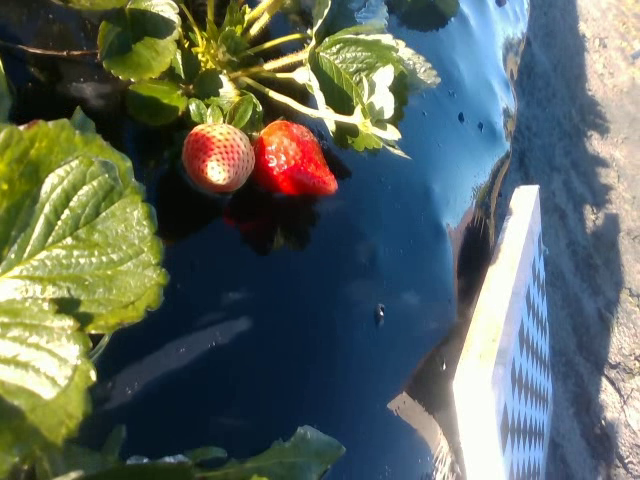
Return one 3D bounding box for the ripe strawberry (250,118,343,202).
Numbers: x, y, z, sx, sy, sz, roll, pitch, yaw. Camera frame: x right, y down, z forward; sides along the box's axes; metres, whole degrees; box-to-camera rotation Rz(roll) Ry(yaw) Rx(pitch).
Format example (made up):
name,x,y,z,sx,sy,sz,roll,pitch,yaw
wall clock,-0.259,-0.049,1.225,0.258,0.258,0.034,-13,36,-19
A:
name,x,y,z,sx,sy,sz,roll,pitch,yaw
ripe strawberry,-0.006,-0.035,0.280,0.055,0.038,0.040,27,61,41
